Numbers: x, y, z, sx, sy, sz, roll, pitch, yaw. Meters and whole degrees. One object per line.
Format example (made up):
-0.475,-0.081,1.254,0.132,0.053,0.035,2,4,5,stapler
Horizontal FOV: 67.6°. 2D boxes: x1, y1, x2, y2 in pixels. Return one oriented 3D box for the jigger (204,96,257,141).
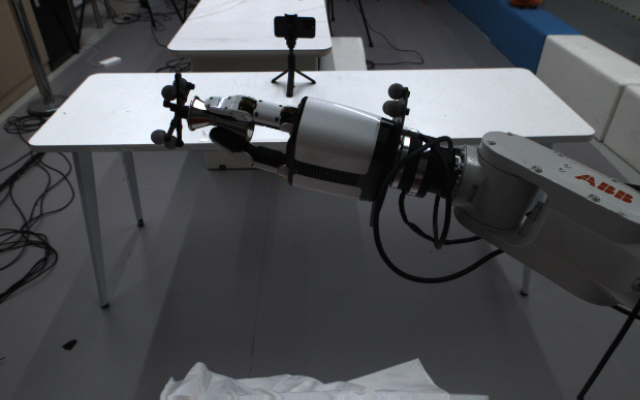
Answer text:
-0.104,-0.096,0.554,0.071,0.043,0.043,9,35,1,jigger
